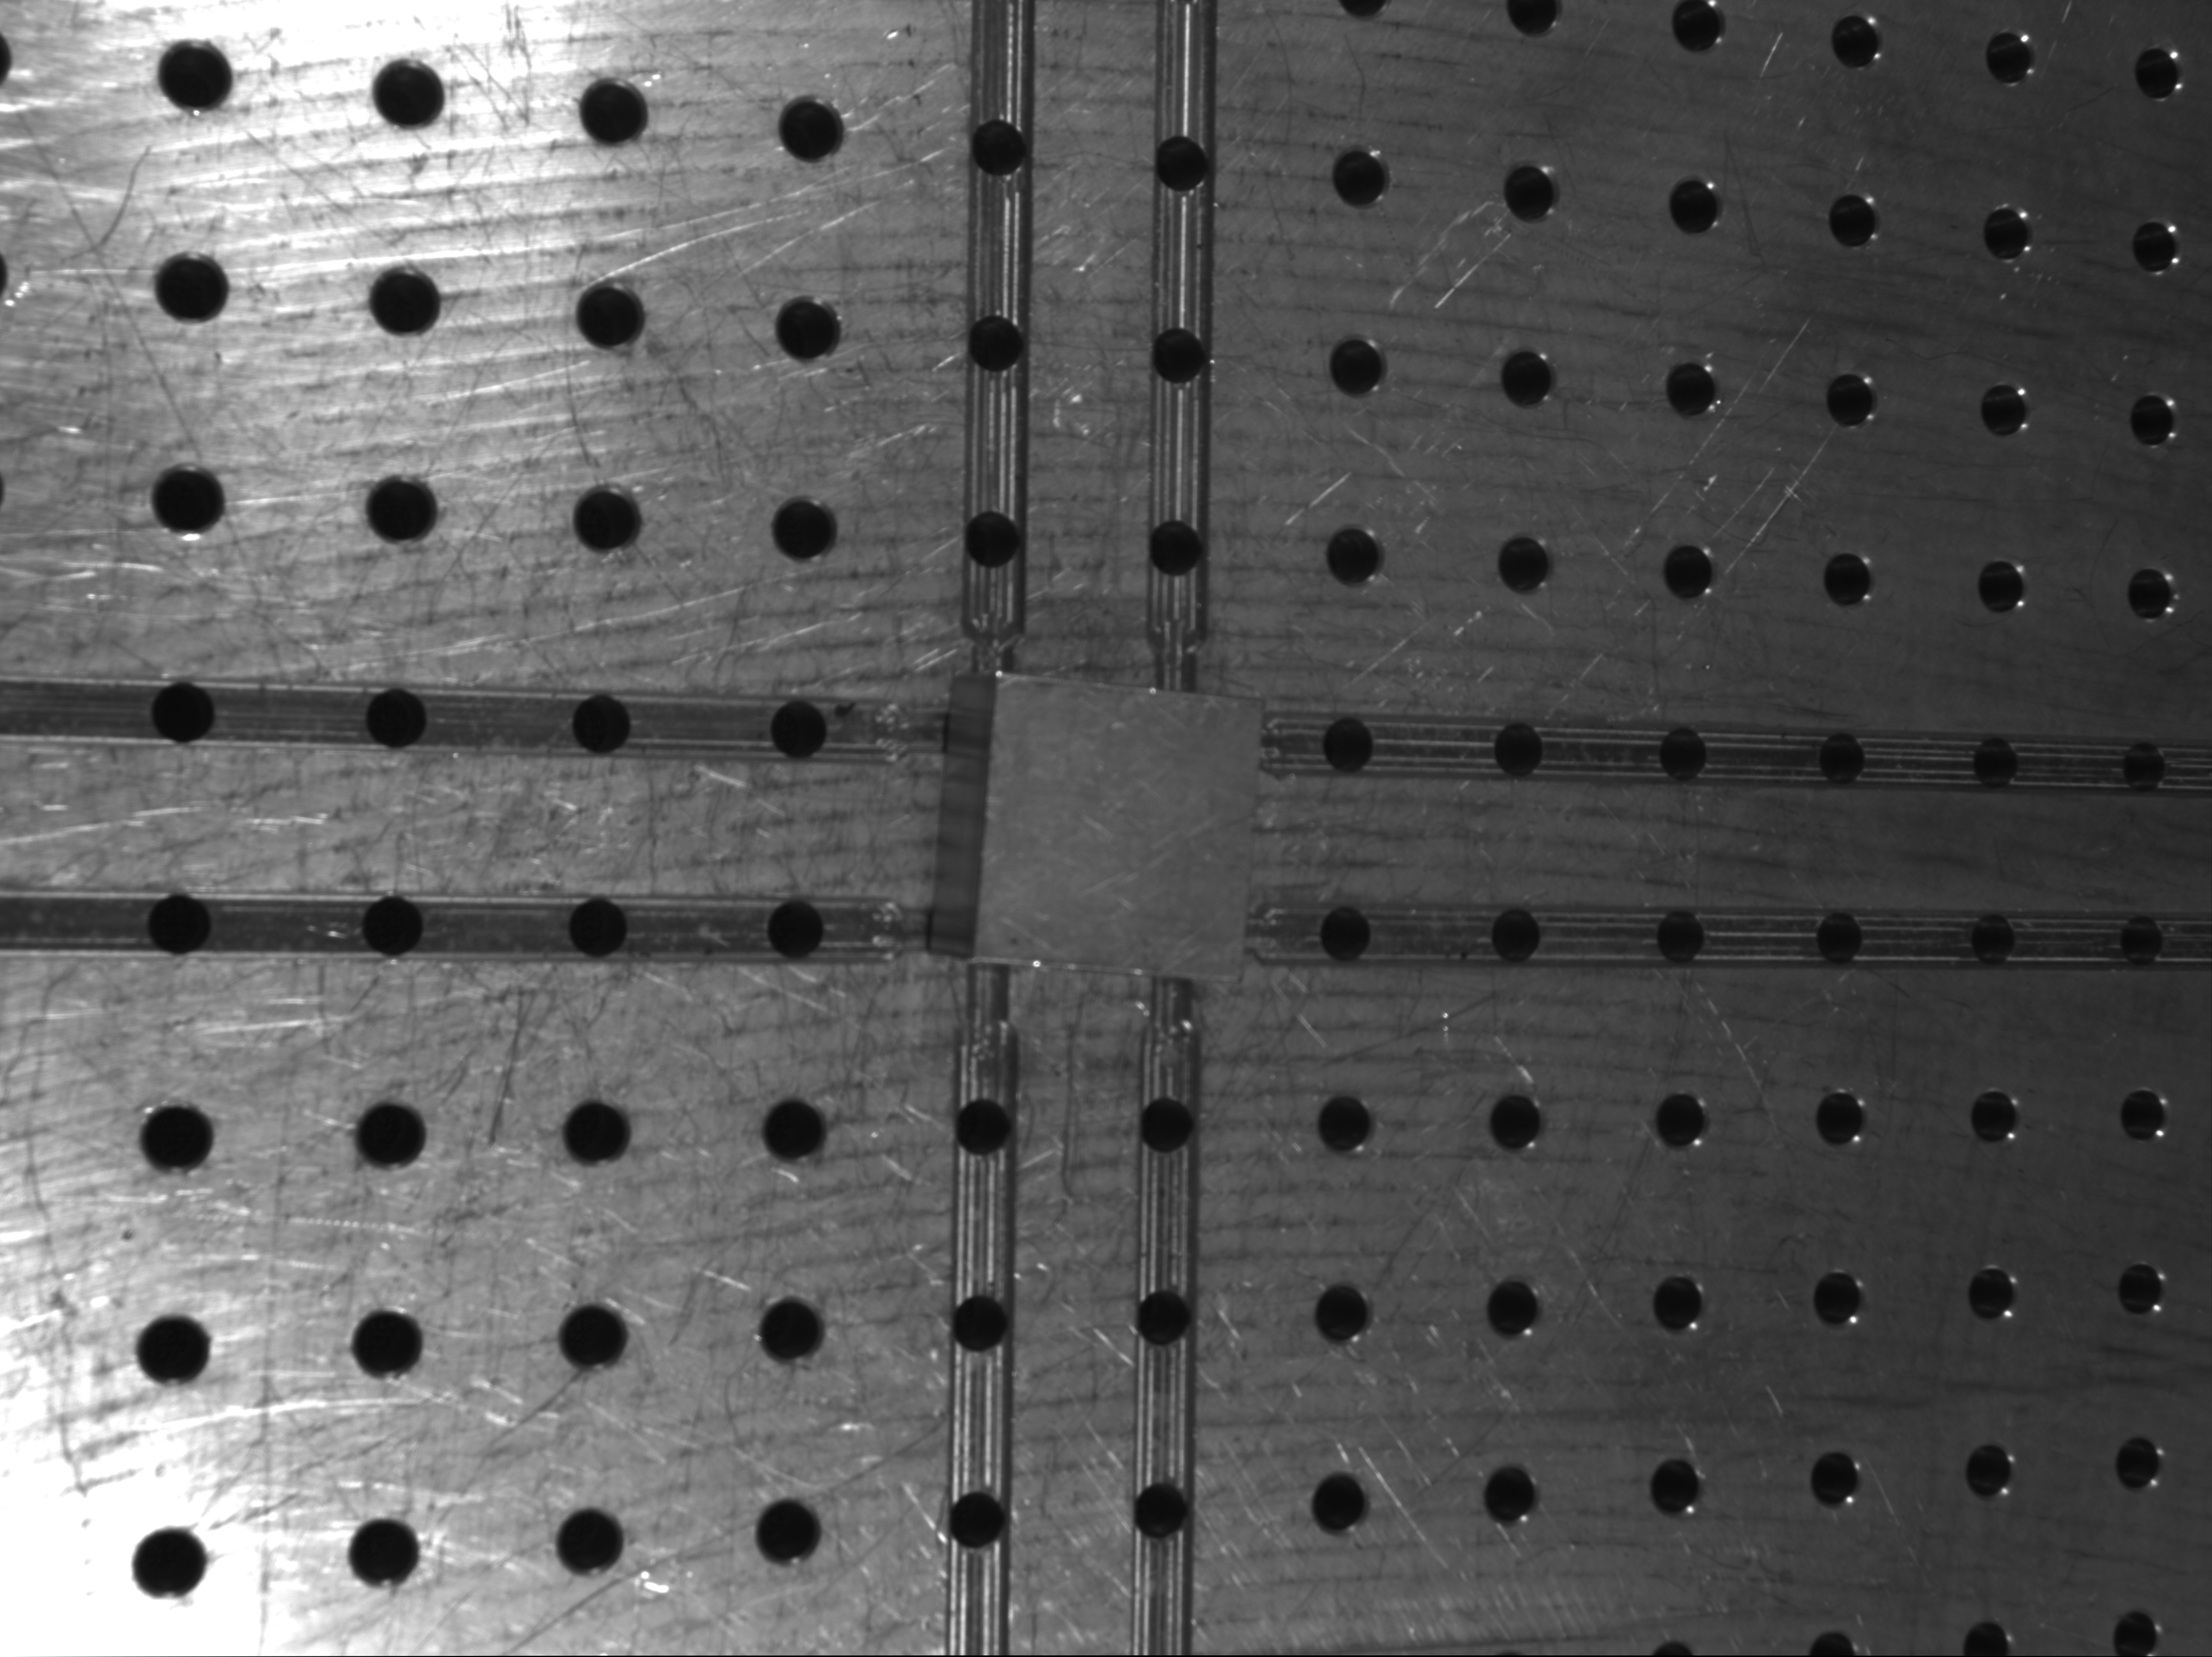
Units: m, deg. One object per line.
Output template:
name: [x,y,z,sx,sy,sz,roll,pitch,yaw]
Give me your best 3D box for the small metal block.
small metal block: [0.001,0.000,0.646,0.050,0.025,0.050,5,88,-20]
